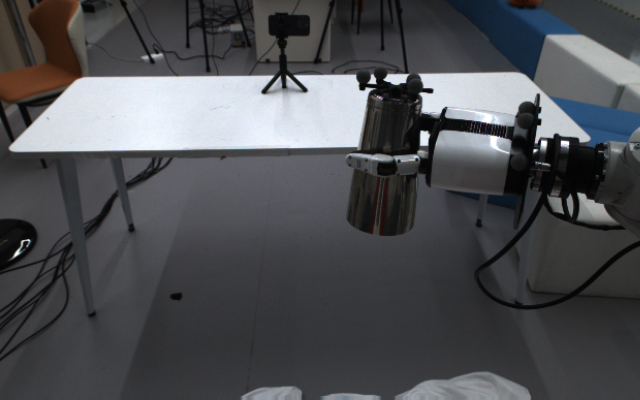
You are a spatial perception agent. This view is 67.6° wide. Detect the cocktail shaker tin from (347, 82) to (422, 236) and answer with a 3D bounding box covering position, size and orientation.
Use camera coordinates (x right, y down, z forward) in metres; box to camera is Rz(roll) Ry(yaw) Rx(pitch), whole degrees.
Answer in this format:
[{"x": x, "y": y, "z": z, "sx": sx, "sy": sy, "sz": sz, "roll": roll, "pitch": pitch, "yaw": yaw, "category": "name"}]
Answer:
[{"x": 0.088, "y": -0.051, "z": 0.621, "sx": 0.093, "sy": 0.170, "sz": 0.093, "roll": 3, "pitch": 26, "yaw": -1, "category": "cocktail shaker tin"}]
